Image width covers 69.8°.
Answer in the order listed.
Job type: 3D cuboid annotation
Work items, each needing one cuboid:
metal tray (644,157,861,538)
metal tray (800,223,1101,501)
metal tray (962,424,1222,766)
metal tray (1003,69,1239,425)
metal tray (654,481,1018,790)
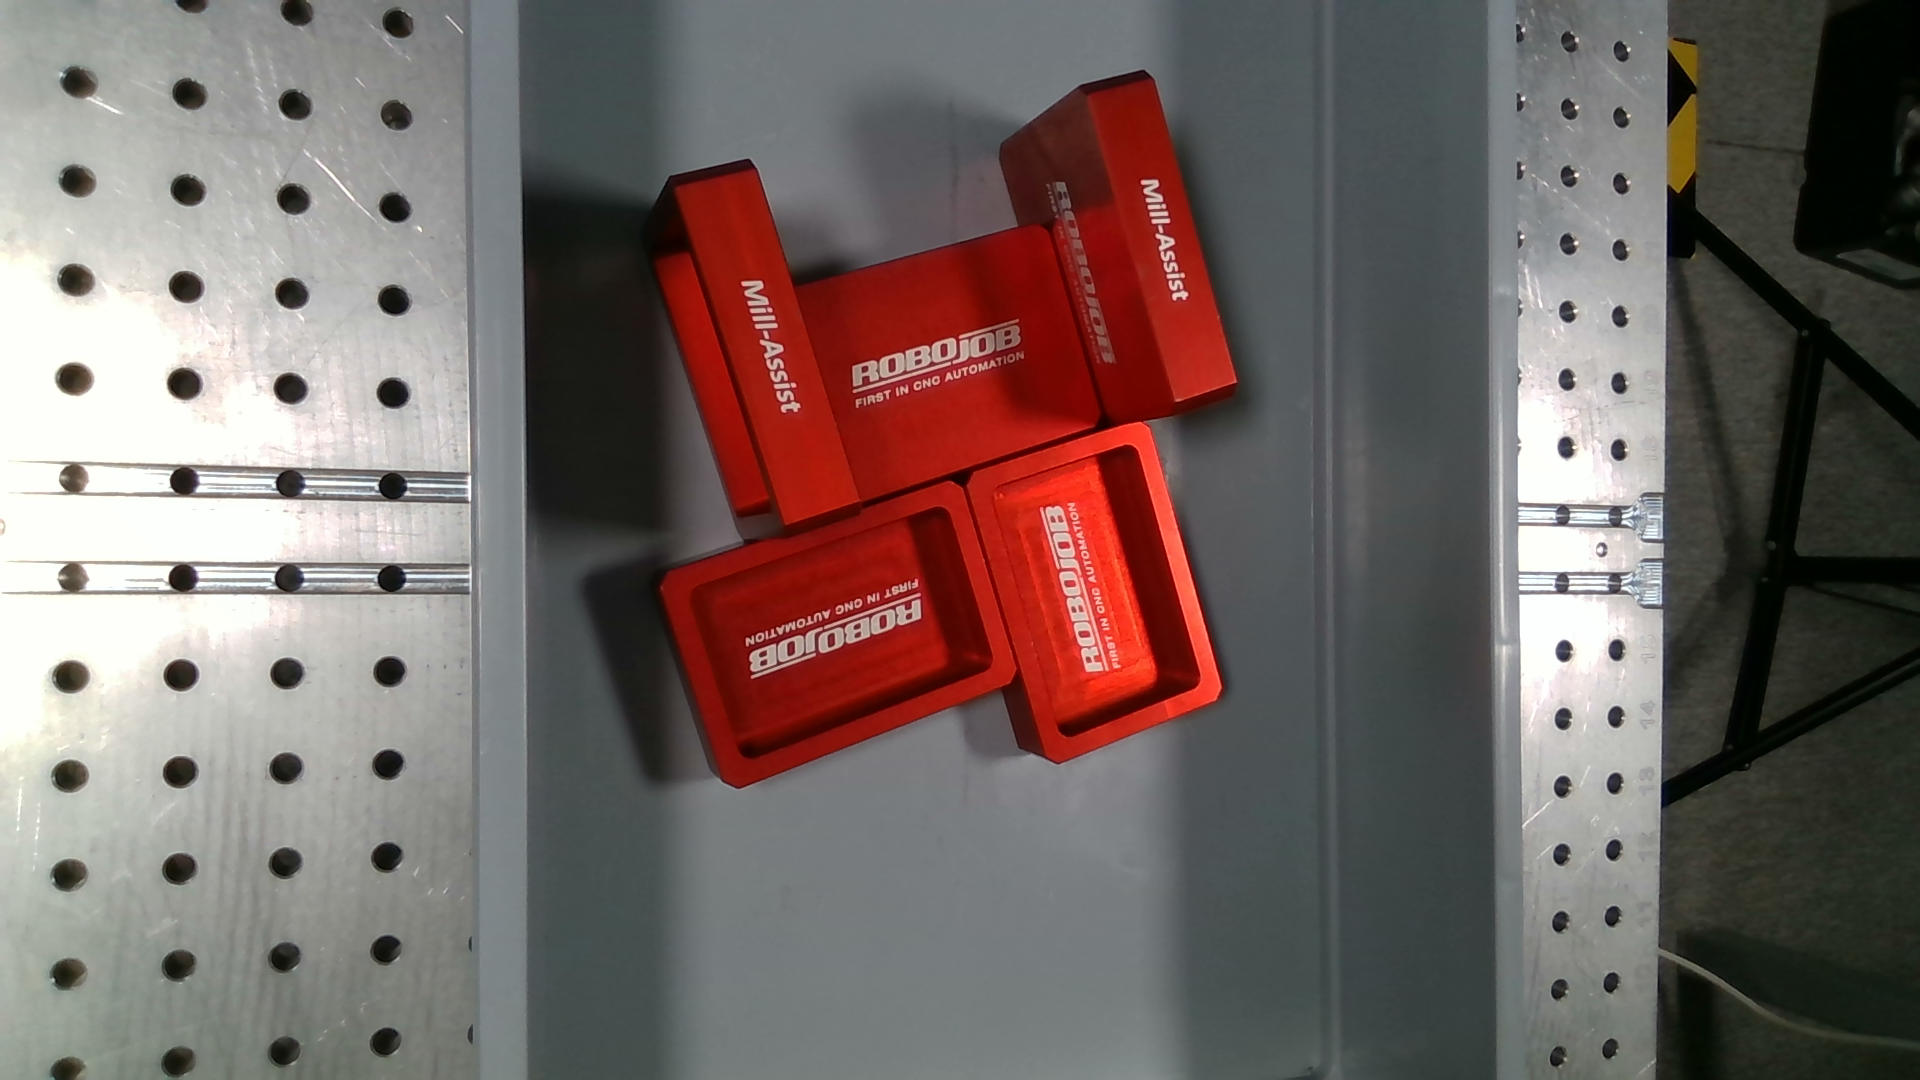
[{"bbox_3d":[-0.081,-0.067,0.518,0.030,0.090,0.130,-19,96,-19],"label":"metal tray"},{"bbox_3d":[-0.014,-0.072,0.575,0.130,0.030,0.090,-19,97,-19],"label":"metal tray"},{"bbox_3d":[0.054,0.022,0.602,0.090,0.030,0.130,-18,97,-19],"label":"metal tray"},{"bbox_3d":[0.064,-0.116,0.571,0.030,0.090,0.130,-19,97,-19],"label":"metal tray"},{"bbox_3d":[-0.050,0.037,0.563,0.130,0.030,0.090,-19,97,-19],"label":"metal tray"}]
